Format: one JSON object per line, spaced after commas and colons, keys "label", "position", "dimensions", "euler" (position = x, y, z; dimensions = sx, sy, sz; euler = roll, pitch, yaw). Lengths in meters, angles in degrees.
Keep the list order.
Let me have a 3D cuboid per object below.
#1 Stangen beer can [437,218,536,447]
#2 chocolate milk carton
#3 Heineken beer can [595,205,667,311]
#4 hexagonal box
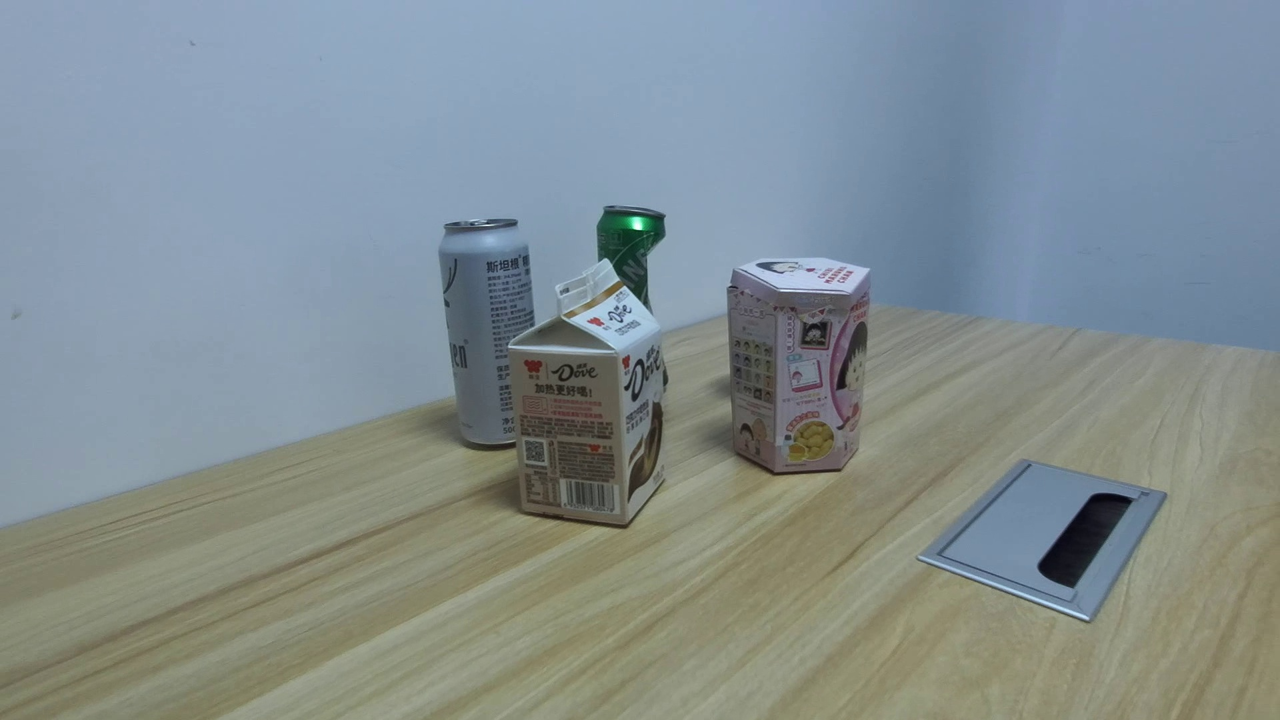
{"label": "Stangen beer can", "position": [-0.113, -0.020, 0.546], "dimensions": [0.067, 0.171, 0.067], "euler": [-3, 14, 1]}
{"label": "chocolate milk carton", "position": [-0.030, 0.016, 0.440], "dimensions": [0.074, 0.148, 0.075], "euler": [4, 17, 21]}
{"label": "Heineken beer can", "position": [-0.006, -0.051, 0.634], "dimensions": [0.069, 0.168, 0.069], "euler": [16, 21, 41]}
{"label": "hexagonal box", "position": [0.109, 0.002, 0.491], "dimensions": [0.084, 0.135, 0.092], "euler": [8, 20, 30]}
